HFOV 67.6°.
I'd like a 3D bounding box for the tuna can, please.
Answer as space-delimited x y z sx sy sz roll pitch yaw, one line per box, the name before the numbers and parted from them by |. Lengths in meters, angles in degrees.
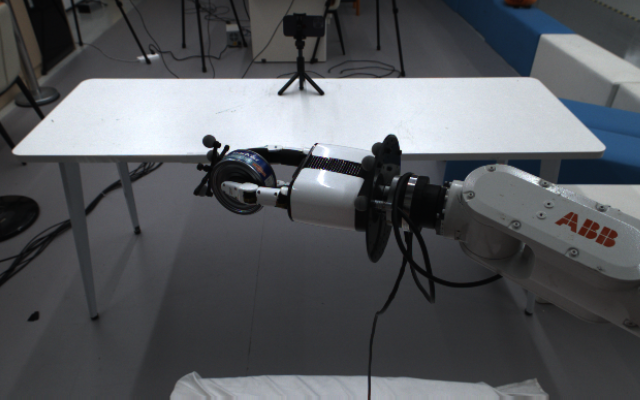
tuna can | -0.101 -0.019 0.651 0.085 0.085 0.034 12 31 14
